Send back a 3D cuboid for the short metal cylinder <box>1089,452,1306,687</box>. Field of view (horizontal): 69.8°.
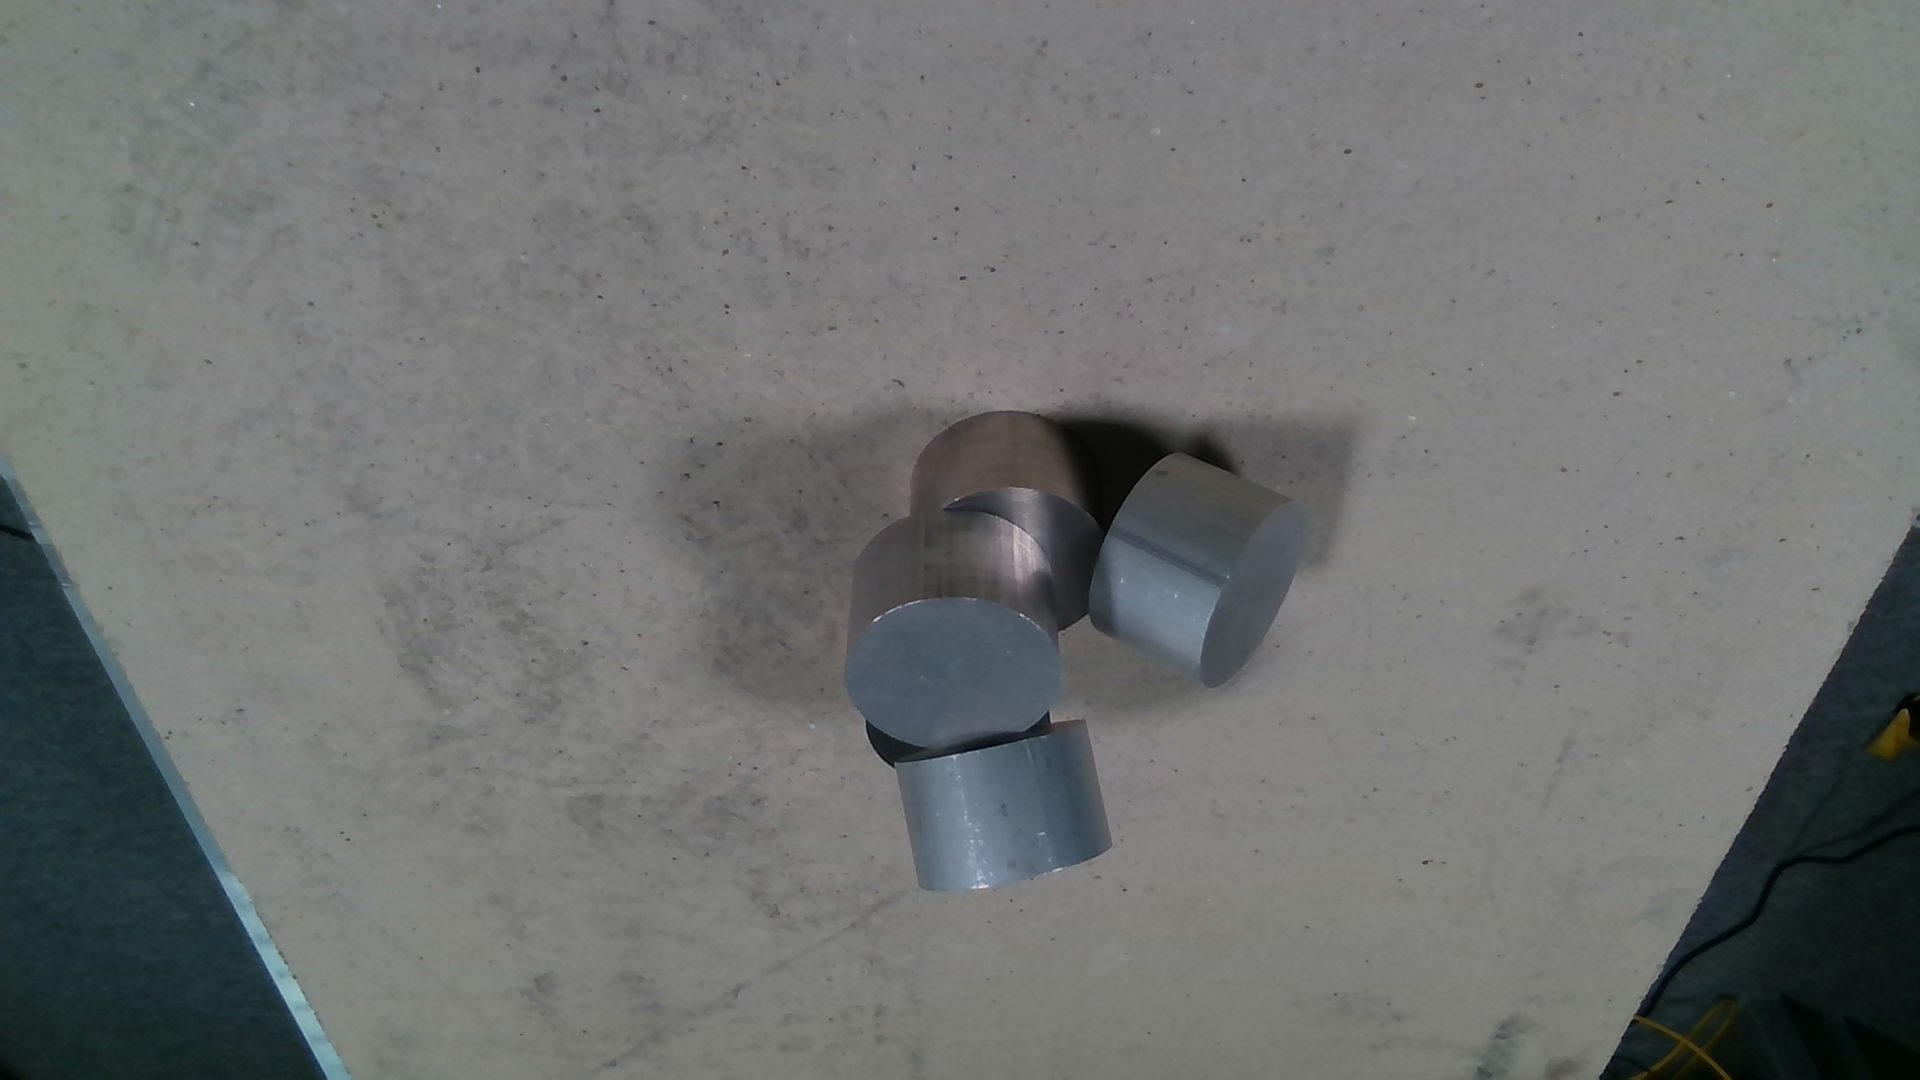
[{"bbox_3d":[0.094,0.011,0.545,0.050,0.080,0.080,27,137,29],"label":"short metal cylinder"}]

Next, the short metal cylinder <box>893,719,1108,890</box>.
[{"bbox_3d":[0.017,0.106,0.558,0.080,0.080,0.050,-13,86,11],"label":"short metal cylinder"}]

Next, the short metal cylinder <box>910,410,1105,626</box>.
[{"bbox_3d":[0.019,-0.006,0.558,0.080,0.050,0.080,0,130,0],"label":"short metal cylinder"}]

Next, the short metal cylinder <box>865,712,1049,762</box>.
[{"bbox_3d":[-0.001,0.064,0.616,0.080,0.050,0.080,0,130,0],"label":"short metal cylinder"}]

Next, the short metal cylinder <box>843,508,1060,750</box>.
[{"bbox_3d":[-0.003,0.034,0.526,0.080,0.050,0.080,0,130,0],"label":"short metal cylinder"}]
